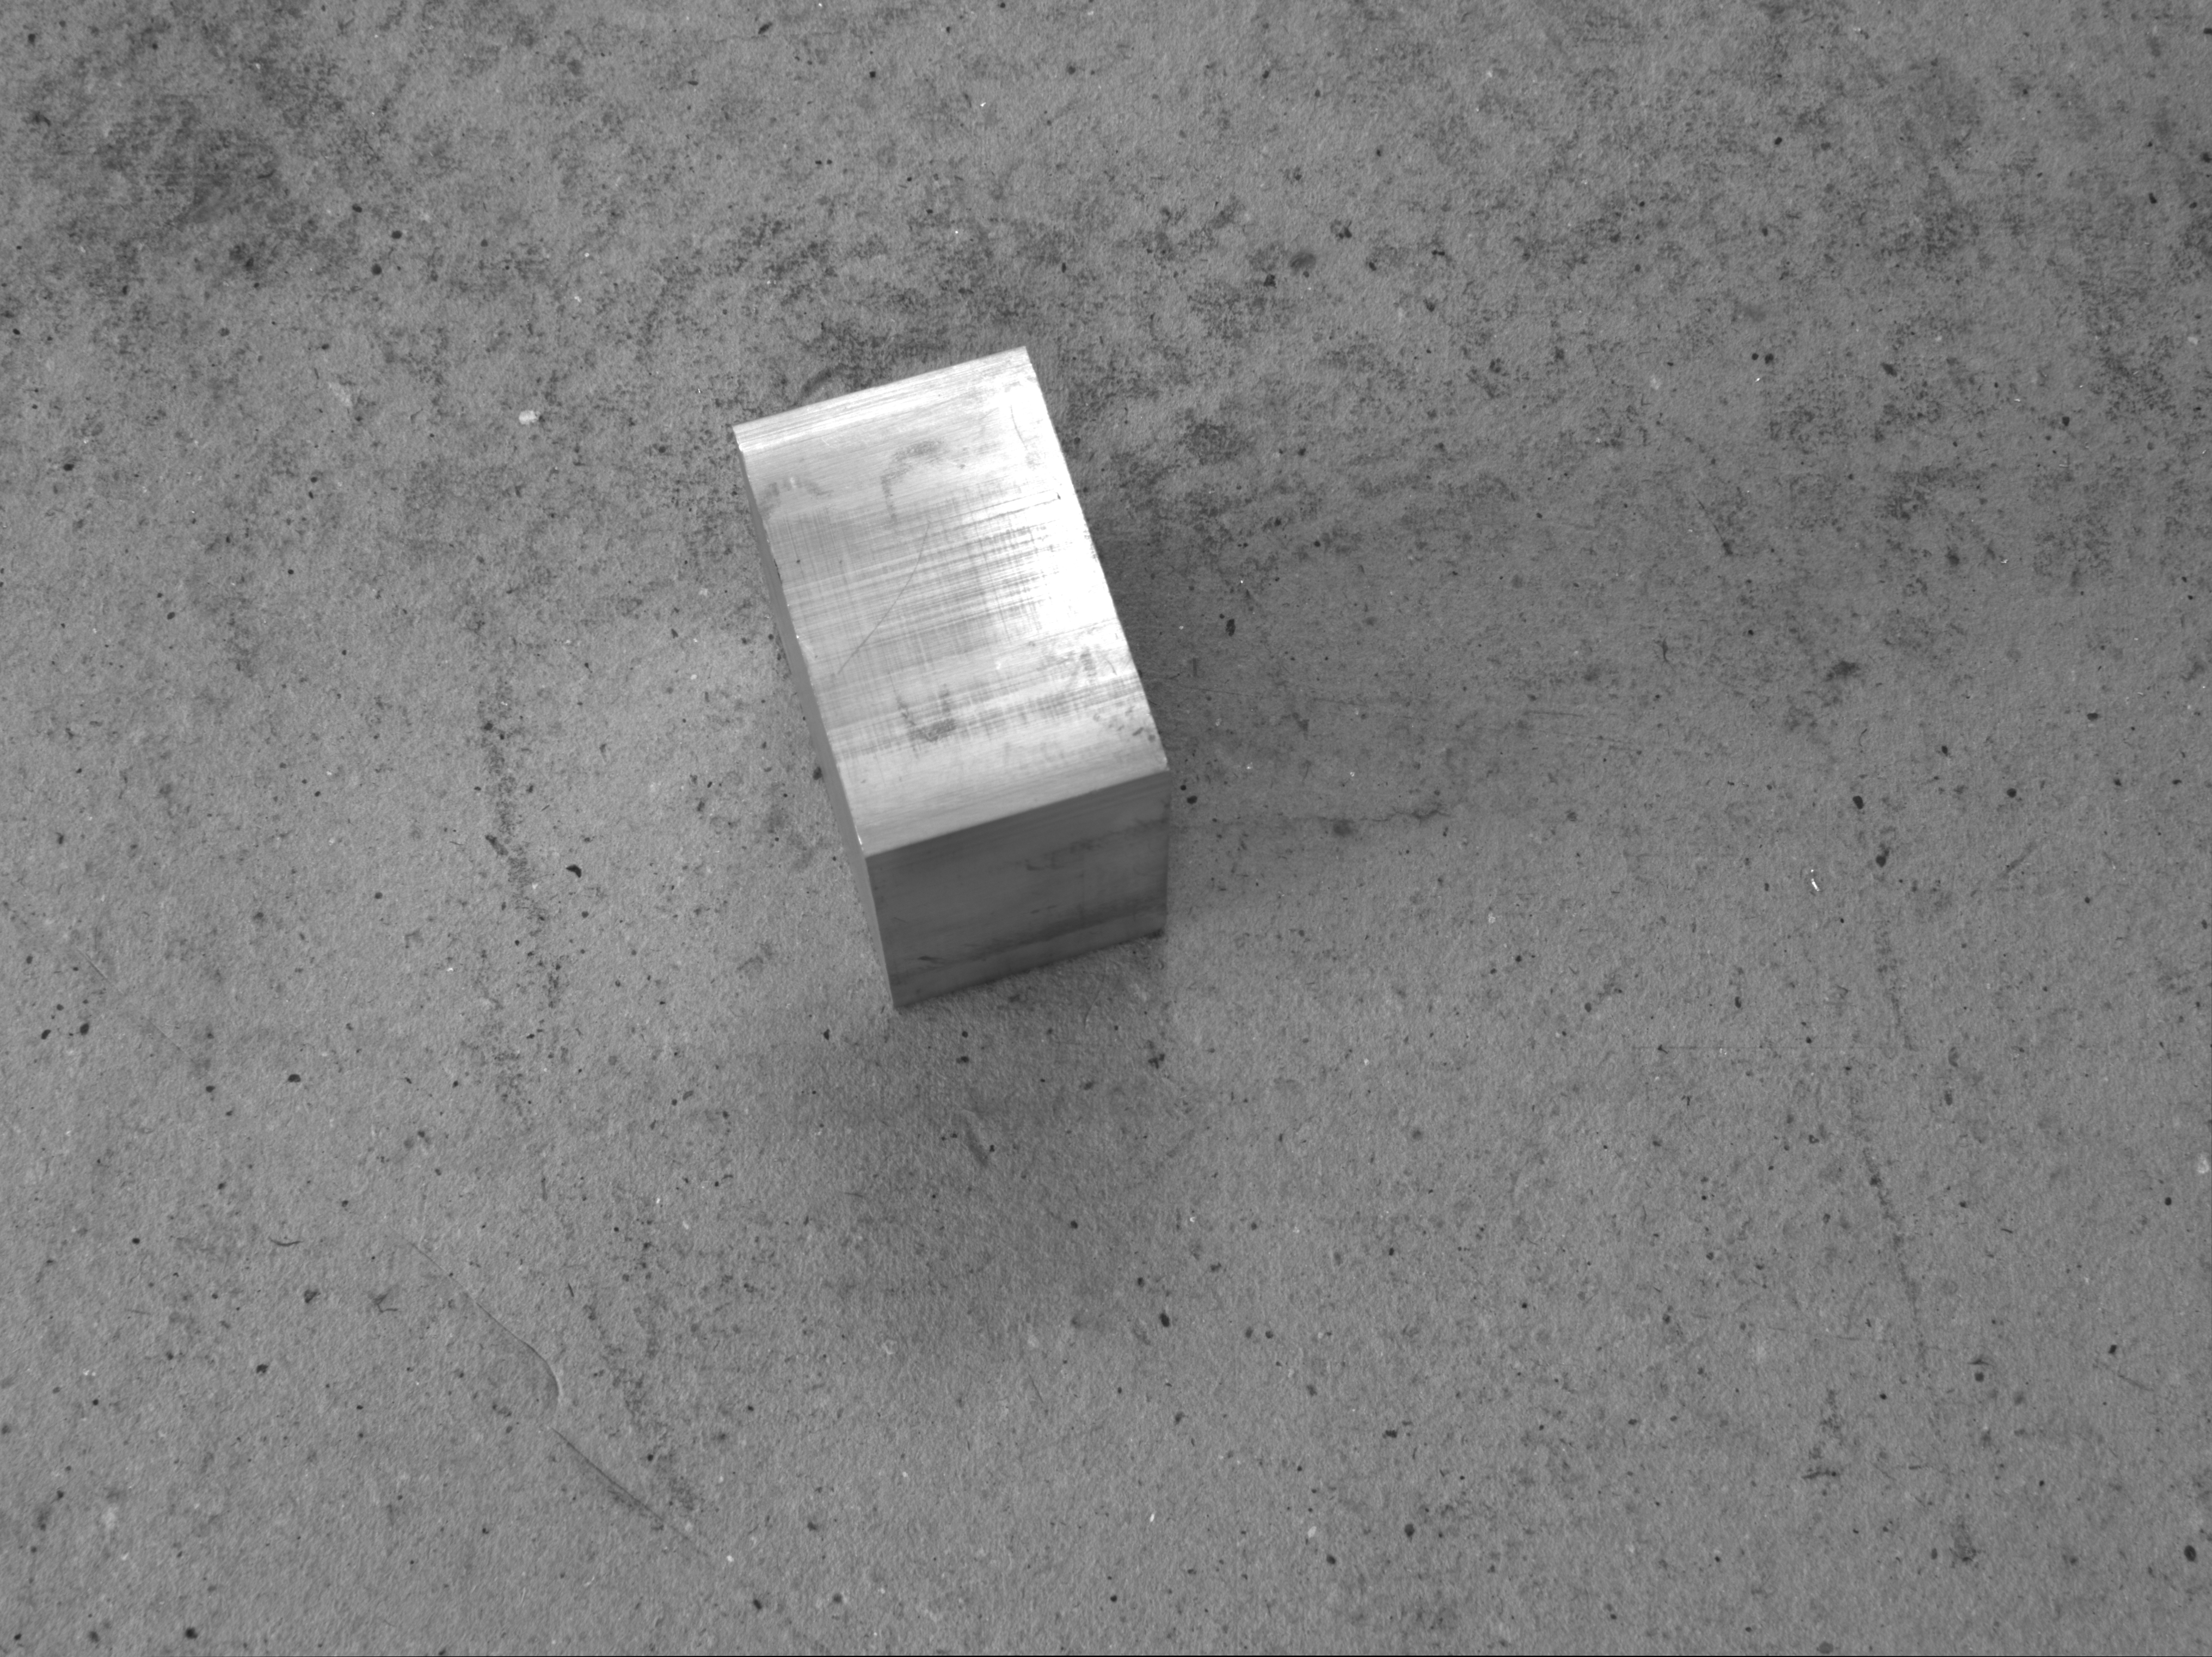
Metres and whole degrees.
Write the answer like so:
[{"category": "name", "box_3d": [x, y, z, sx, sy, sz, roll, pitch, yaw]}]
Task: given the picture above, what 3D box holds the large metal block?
[{"category": "large metal block", "box_3d": [-0.026, -0.024, 0.625, 0.050, 0.080, 0.080, -16, 71, -6]}]
